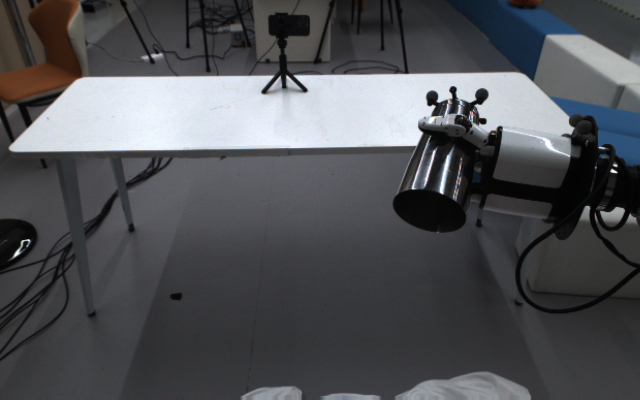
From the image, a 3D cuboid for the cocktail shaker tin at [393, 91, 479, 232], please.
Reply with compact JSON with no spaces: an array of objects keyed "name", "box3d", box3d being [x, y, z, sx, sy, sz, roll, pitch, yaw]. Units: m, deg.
[{"name":"cocktail shaker tin","box3d":[0.163,-0.054,0.641,0.093,0.093,0.170,14,57,16]}]
